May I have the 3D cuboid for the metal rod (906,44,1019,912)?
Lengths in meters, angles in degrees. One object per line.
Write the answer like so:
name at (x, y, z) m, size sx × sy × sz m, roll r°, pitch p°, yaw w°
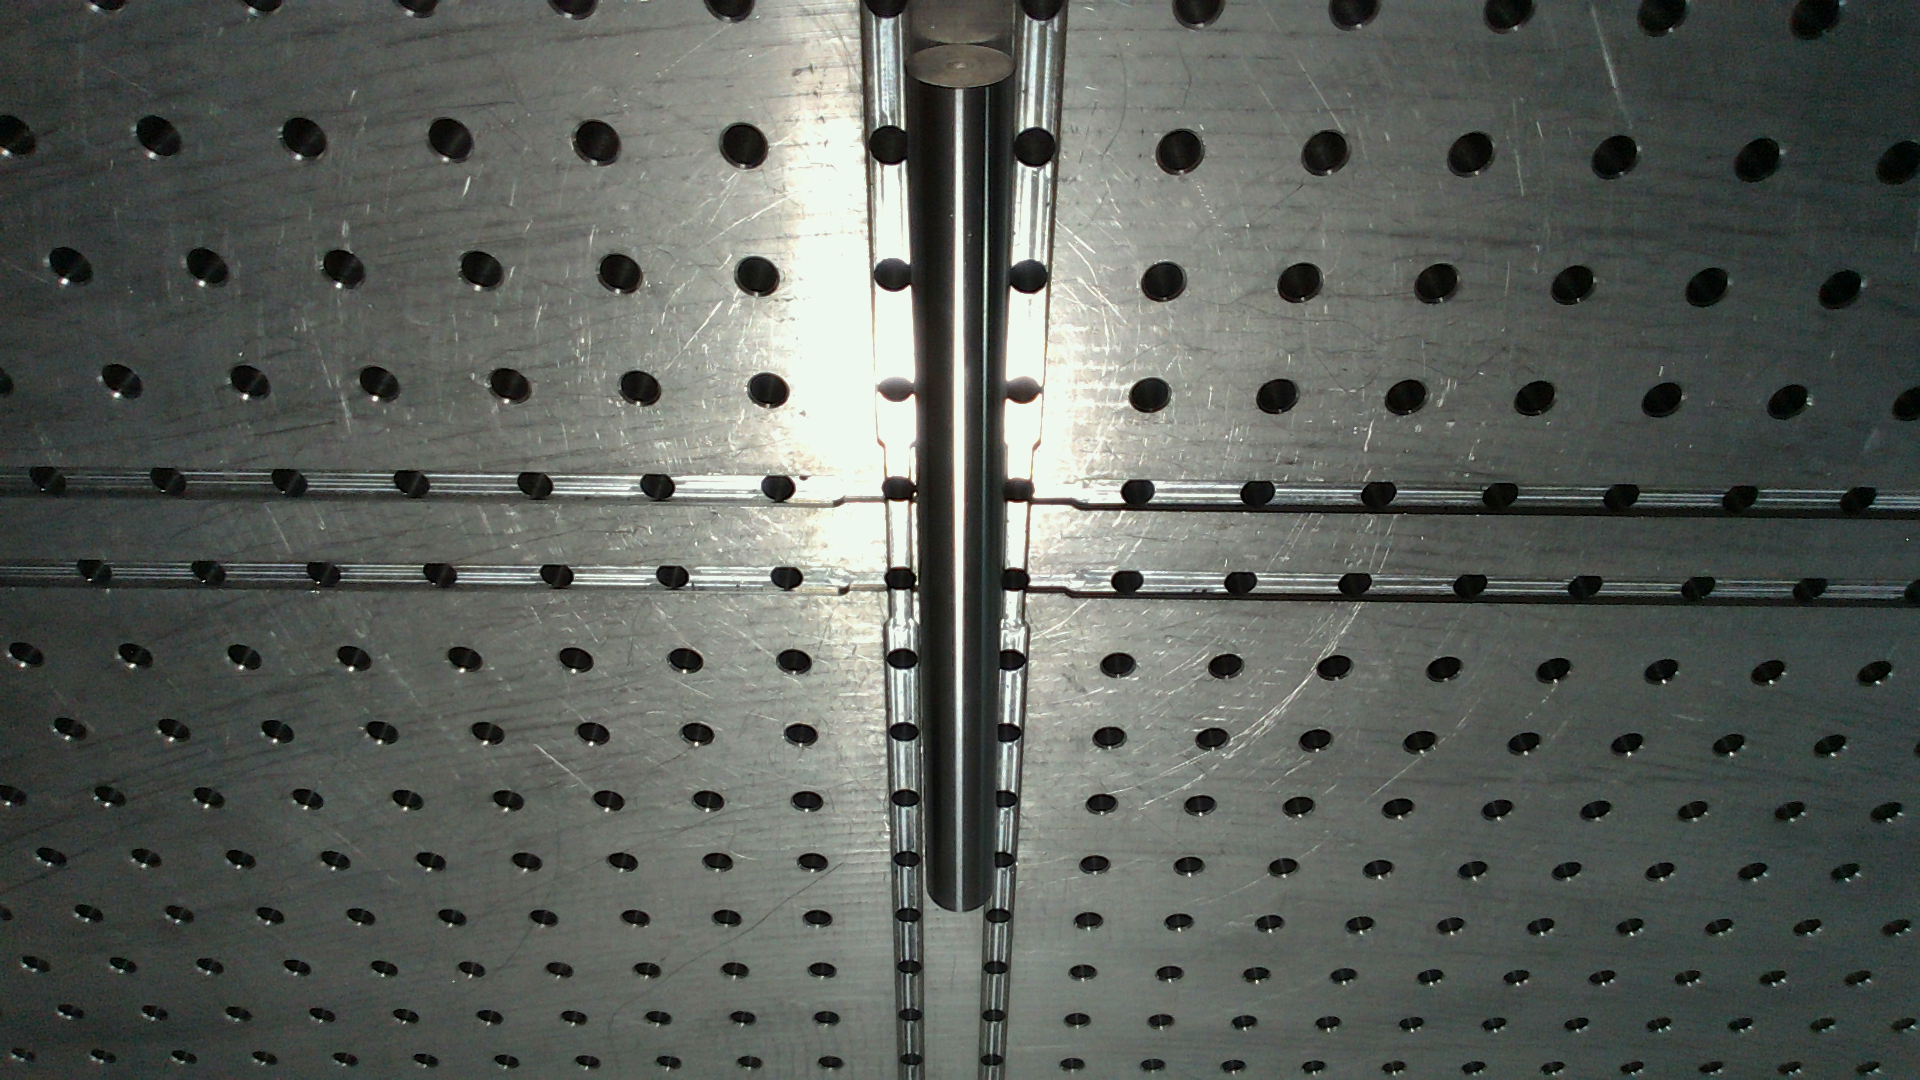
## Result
metal rod at (0.000, 0.009, 0.401) m, size 0.025 × 0.025 × 0.300 m, roll 0°, pitch 130°, yaw 0°
